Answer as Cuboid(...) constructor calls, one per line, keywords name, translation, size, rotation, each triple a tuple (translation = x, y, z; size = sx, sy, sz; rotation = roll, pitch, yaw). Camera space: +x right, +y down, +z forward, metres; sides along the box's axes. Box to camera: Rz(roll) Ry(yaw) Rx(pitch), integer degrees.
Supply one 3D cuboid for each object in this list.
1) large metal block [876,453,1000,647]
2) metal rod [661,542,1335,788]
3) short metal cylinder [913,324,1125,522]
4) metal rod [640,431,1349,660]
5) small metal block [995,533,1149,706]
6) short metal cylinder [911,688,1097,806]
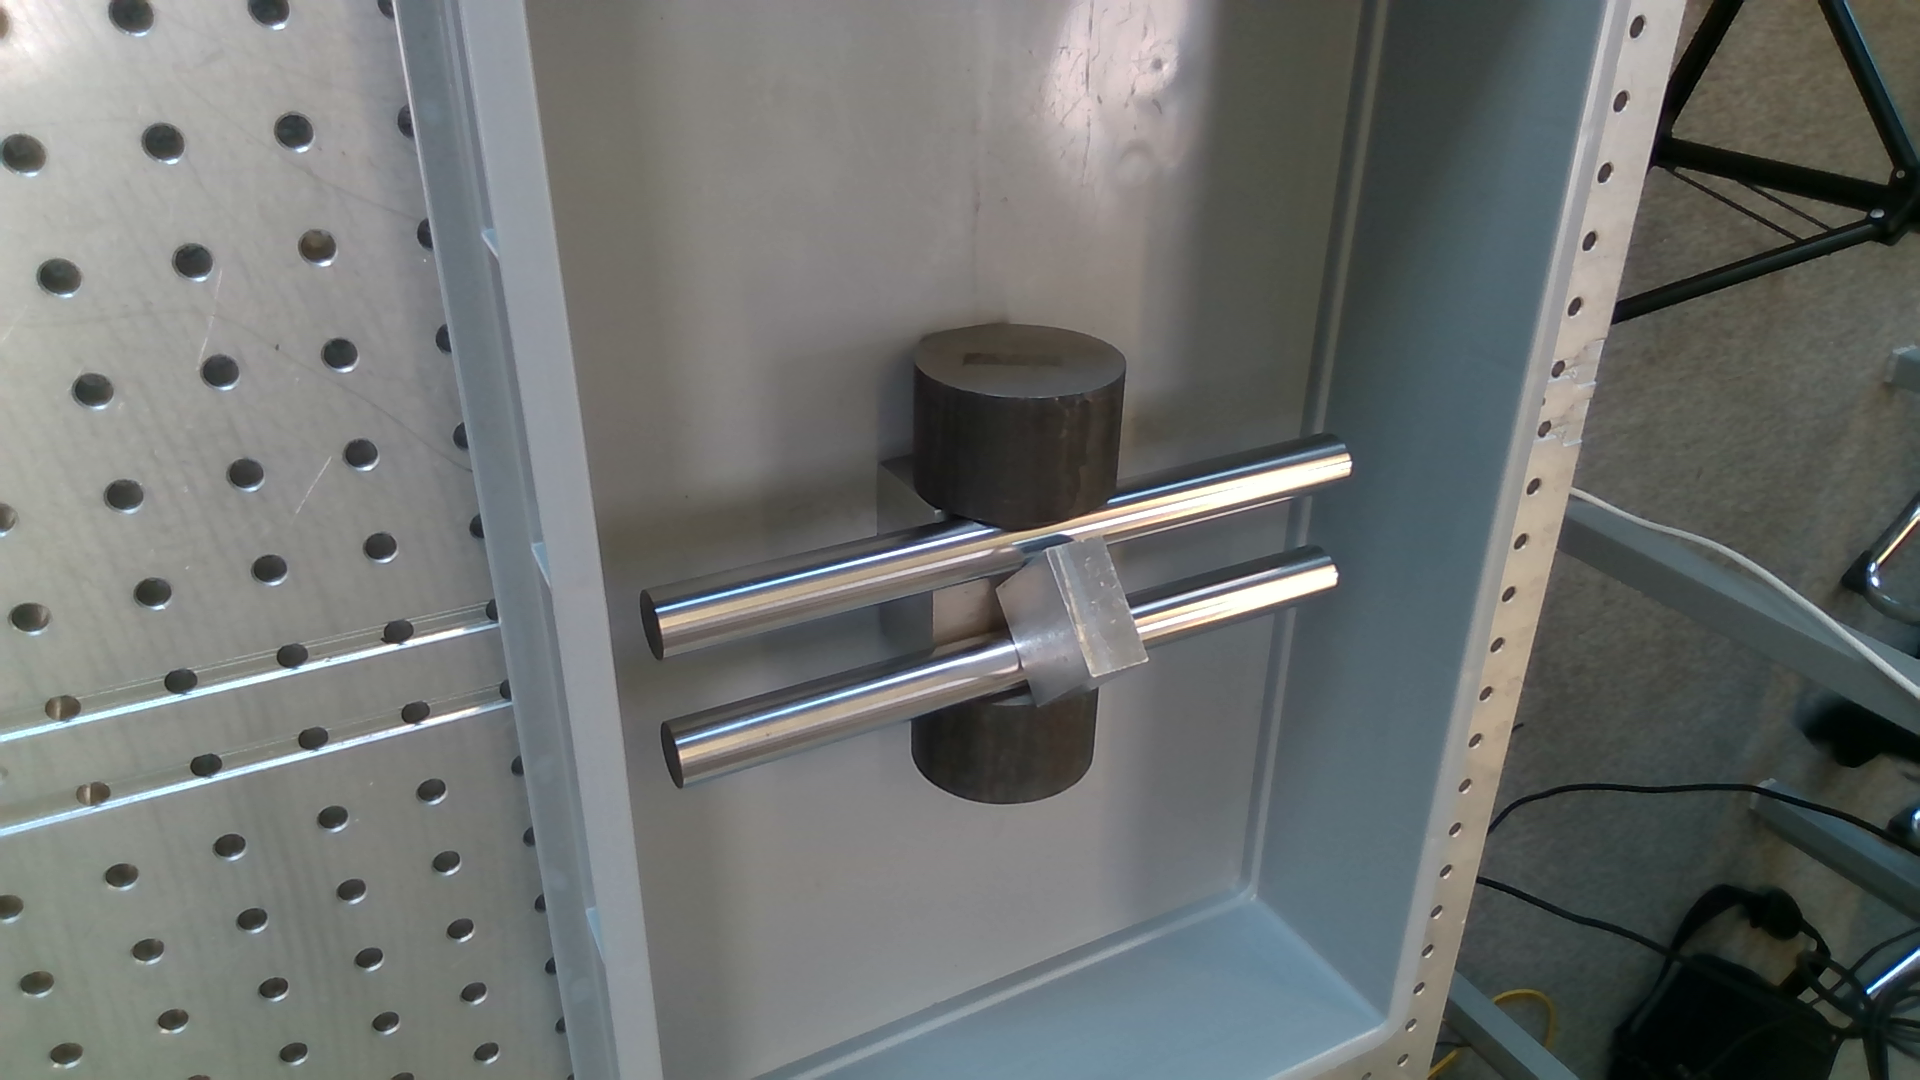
Cuboid(name="large metal block", translation=(0.013, 0.005, 0.574), size=(0.080, 0.050, 0.080), rotation=(-14, 121, -25))
Cuboid(name="metal rod", translation=(0.029, 0.045, 0.558), size=(0.300, 0.025, 0.025), rotation=(-14, 121, -25))
Cuboid(name="short metal cylinder", translation=(0.022, -0.047, 0.533), size=(0.080, 0.080, 0.050), rotation=(-13, 121, -25))
Cuboid(name="metal rod", translation=(0.027, -0.003, 0.531), size=(0.300, 0.025, 0.025), rotation=(-14, 121, -25))
Cuboid(name="small metal block", translation=(0.041, 0.031, 0.525), size=(0.025, 0.050, 0.050), rotation=(-14, 77, -25))
Cuboid(name="short metal cylinder", translation=(0.019, 0.069, 0.593), size=(0.080, 0.080, 0.050), rotation=(-14, 120, -25))
